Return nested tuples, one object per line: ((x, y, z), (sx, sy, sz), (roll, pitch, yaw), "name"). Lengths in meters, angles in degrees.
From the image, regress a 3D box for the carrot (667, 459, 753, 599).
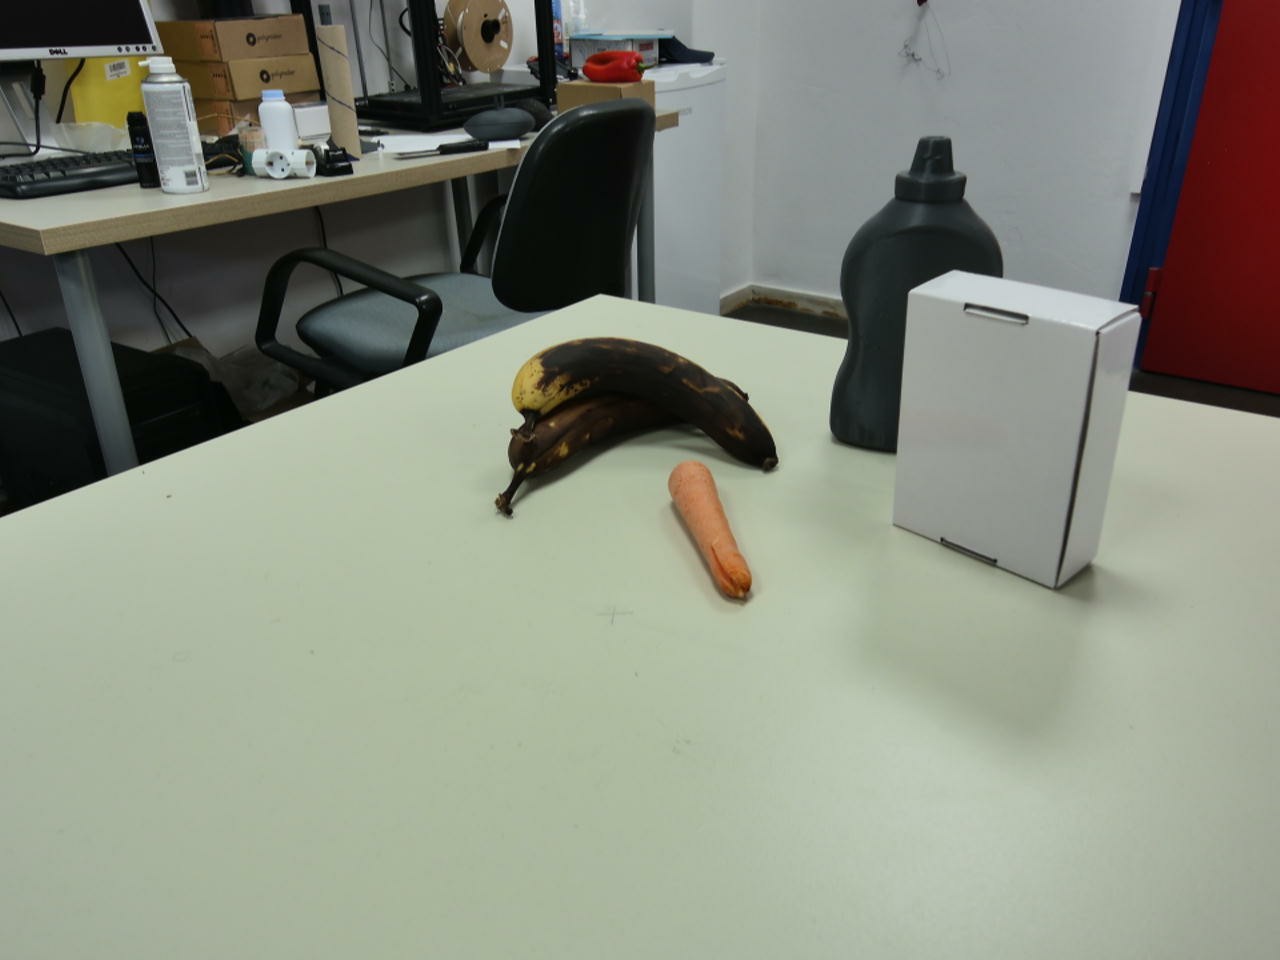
((0.039, 0.024, 0.578), (0.030, 0.032, 0.136), (-4, 24, -8), "carrot")
